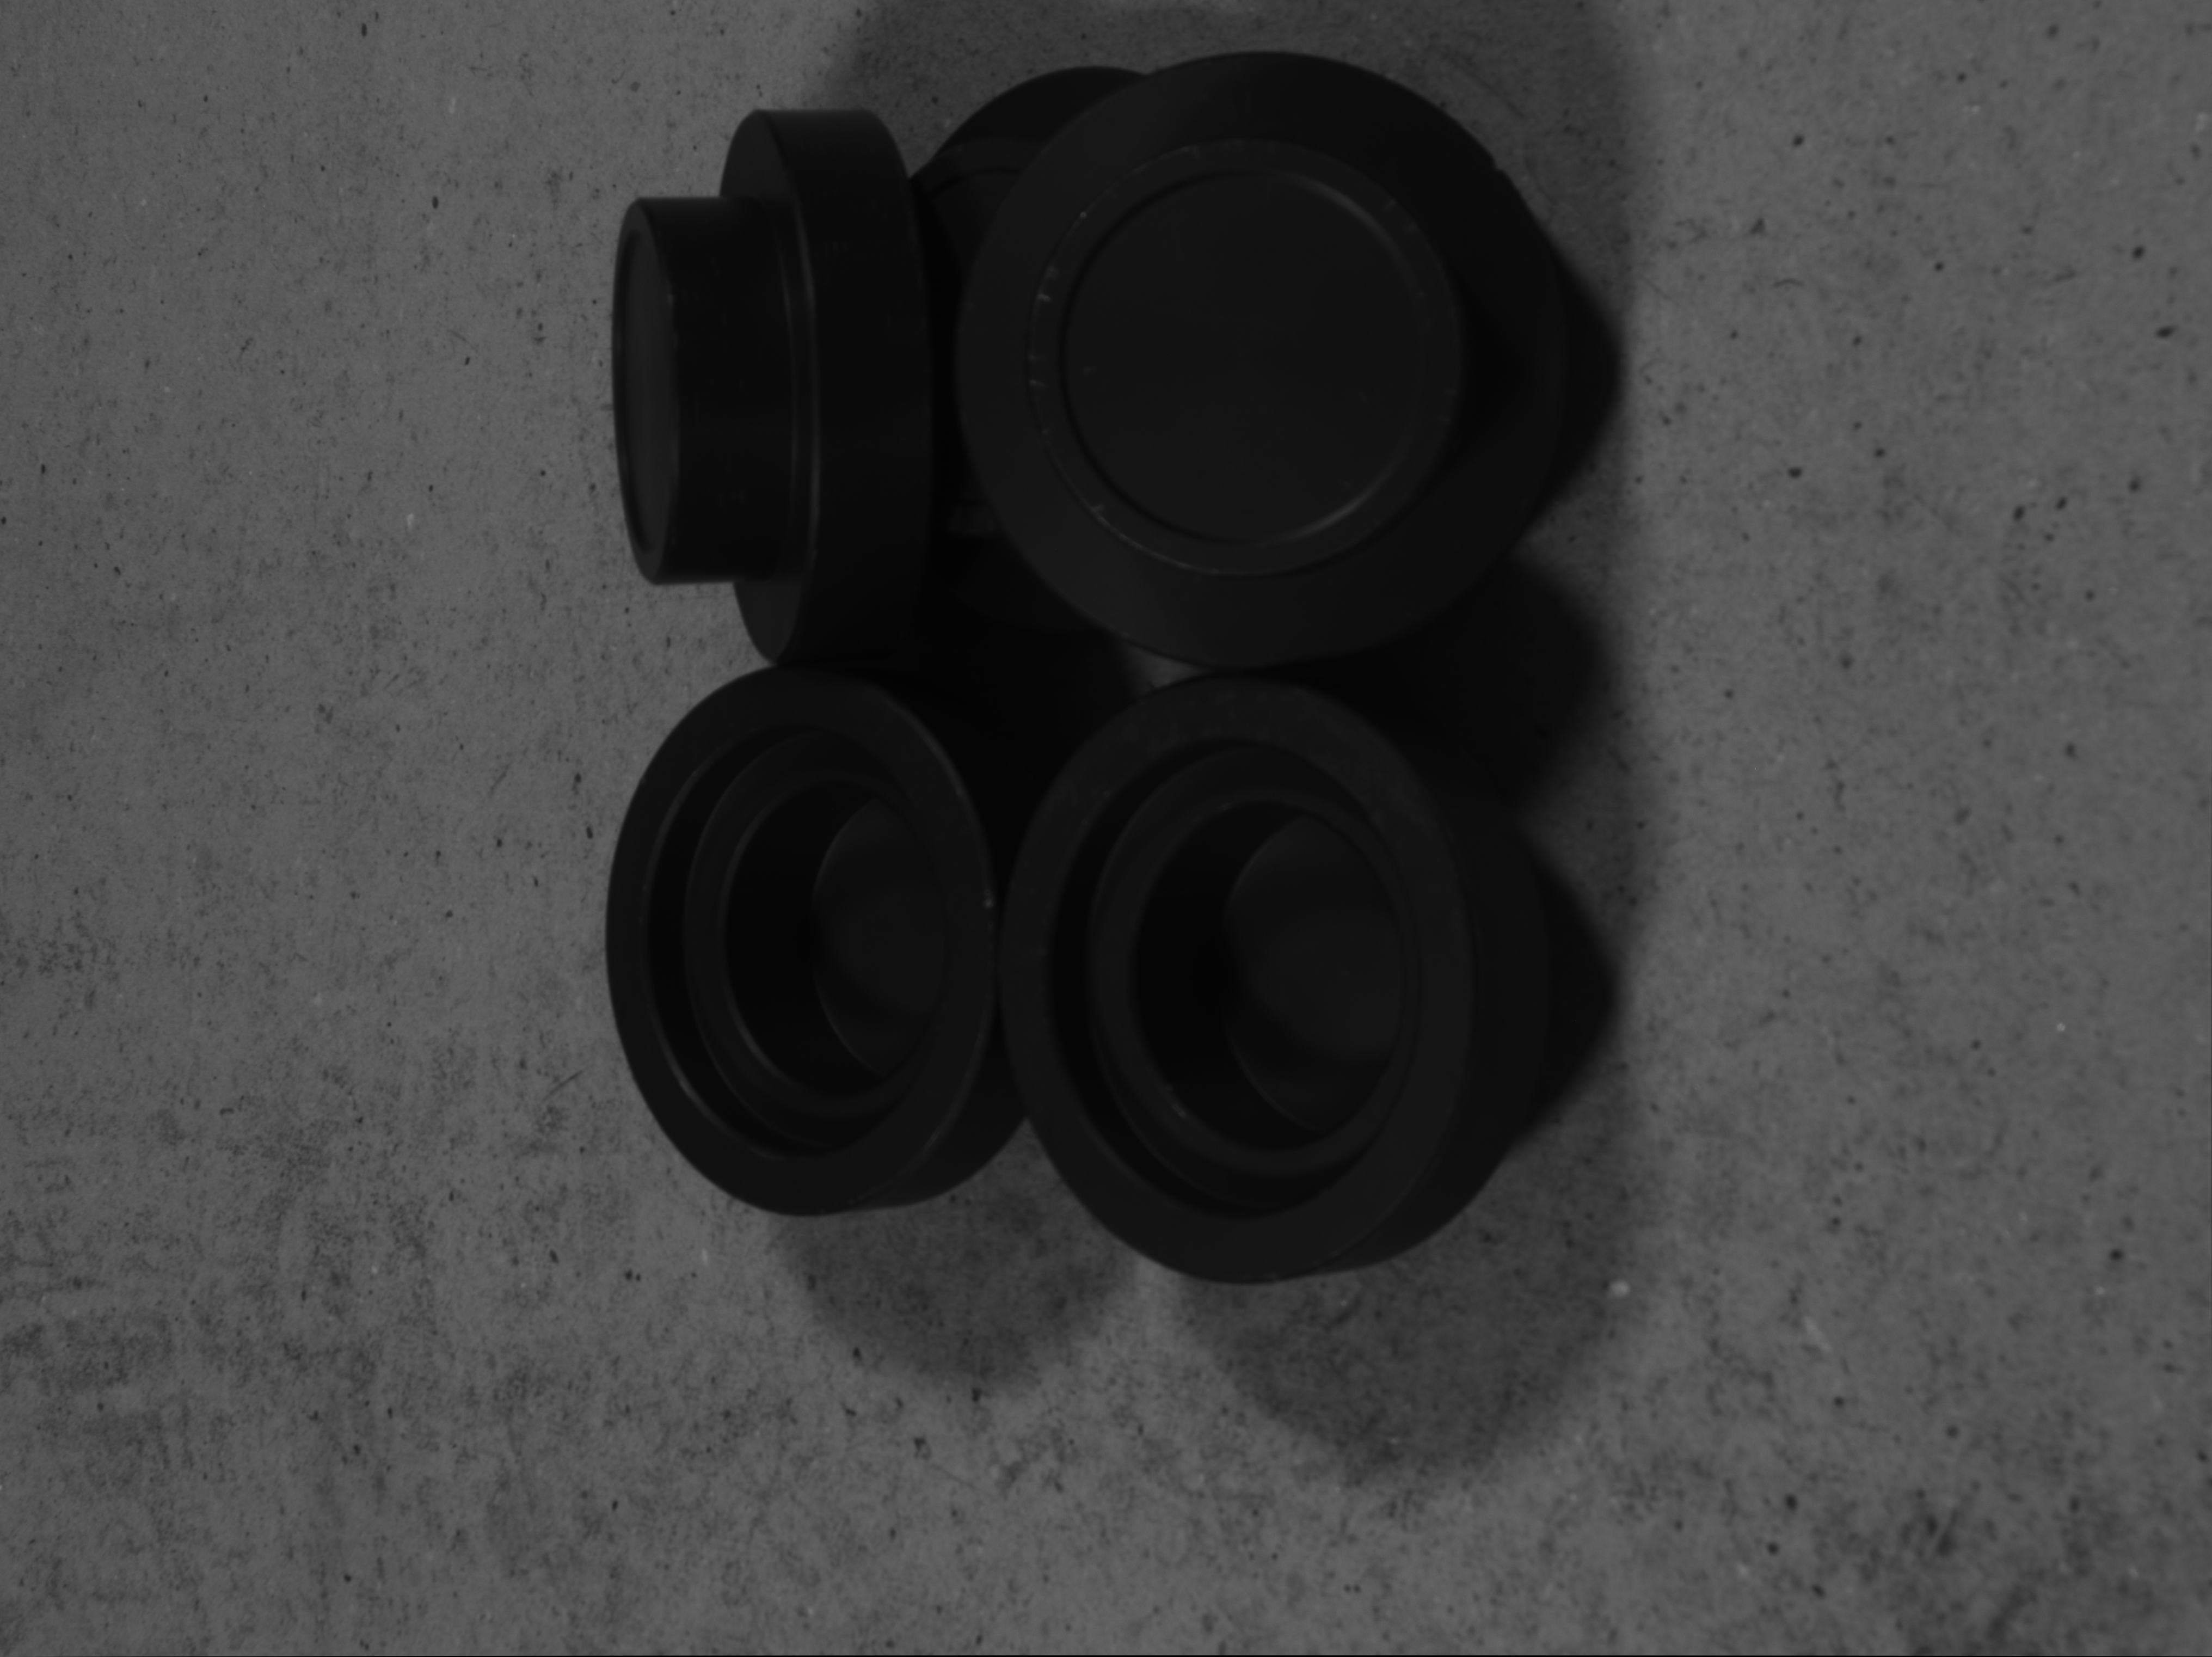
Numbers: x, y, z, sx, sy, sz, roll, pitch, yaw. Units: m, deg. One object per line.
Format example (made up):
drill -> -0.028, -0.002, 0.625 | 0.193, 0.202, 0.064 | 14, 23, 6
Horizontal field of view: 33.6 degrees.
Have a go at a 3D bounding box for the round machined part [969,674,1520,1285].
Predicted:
round machined part -> 0.027, 0.024, 0.603 | 0.098, 0.042, 0.098 | 0, 90, 39

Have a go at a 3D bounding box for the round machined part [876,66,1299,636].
round machined part -> -0.013, -0.083, 0.636 | 0.098, 0.042, 0.098 | 0, 90, 39

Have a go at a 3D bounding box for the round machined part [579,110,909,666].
round machined part -> -0.067, -0.078, 0.650 | 0.098, 0.042, 0.098 | 177, 90, -73

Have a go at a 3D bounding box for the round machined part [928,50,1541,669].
round machined part -> 0.020, -0.074, 0.581 | 0.098, 0.042, 0.098 | 1, 95, 8

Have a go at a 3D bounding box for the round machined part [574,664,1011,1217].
round machined part -> -0.048, 0.020, 0.665 | 0.098, 0.042, 0.098 | 0, 90, 39
